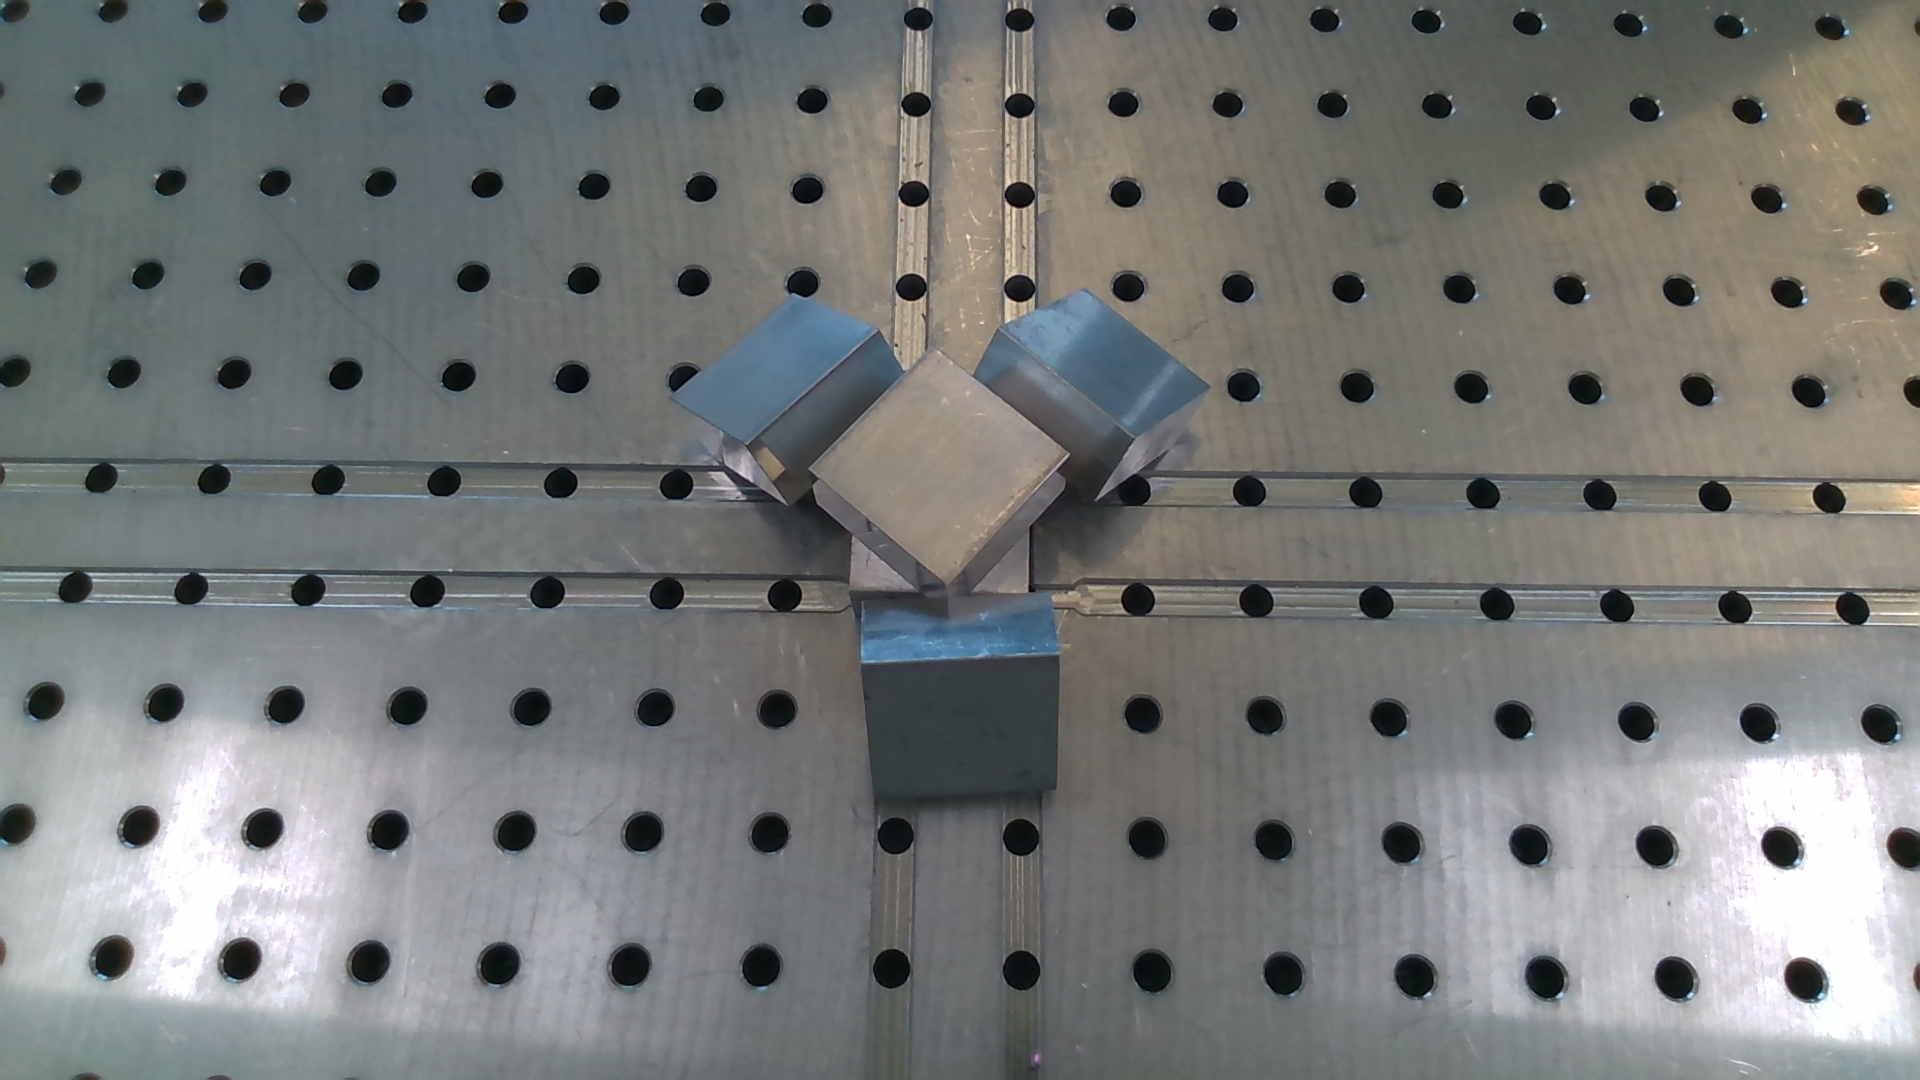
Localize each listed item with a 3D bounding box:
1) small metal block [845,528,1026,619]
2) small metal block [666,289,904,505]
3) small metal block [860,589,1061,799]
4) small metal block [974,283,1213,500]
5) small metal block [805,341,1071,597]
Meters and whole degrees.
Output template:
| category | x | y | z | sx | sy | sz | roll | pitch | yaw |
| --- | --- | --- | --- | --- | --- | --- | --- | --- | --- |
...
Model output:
| category | x | y | z | sx | sy | sz | roll | pitch | yaw |
| --- | --- | --- | --- | --- | --- | --- | --- | --- | --- |
| small metal block | -0.006 | -0.004 | 0.400 | 0.050 | 0.025 | 0.050 | 0 | 70 | 3 |
| small metal block | -0.049 | -0.043 | 0.400 | 0.050 | 0.025 | 0.050 | -43 | 39 | -14 |
| small metal block | 0.000 | 0.041 | 0.367 | 0.050 | 0.050 | 0.025 | -3 | 38 | -1 |
| small metal block | 0.038 | -0.045 | 0.401 | 0.050 | 0.025 | 0.050 | 41 | 40 | 13 |
| small metal block | -0.006 | -0.017 | 0.377 | 0.050 | 0.025 | 0.050 | 40 | 75 | 12 |
